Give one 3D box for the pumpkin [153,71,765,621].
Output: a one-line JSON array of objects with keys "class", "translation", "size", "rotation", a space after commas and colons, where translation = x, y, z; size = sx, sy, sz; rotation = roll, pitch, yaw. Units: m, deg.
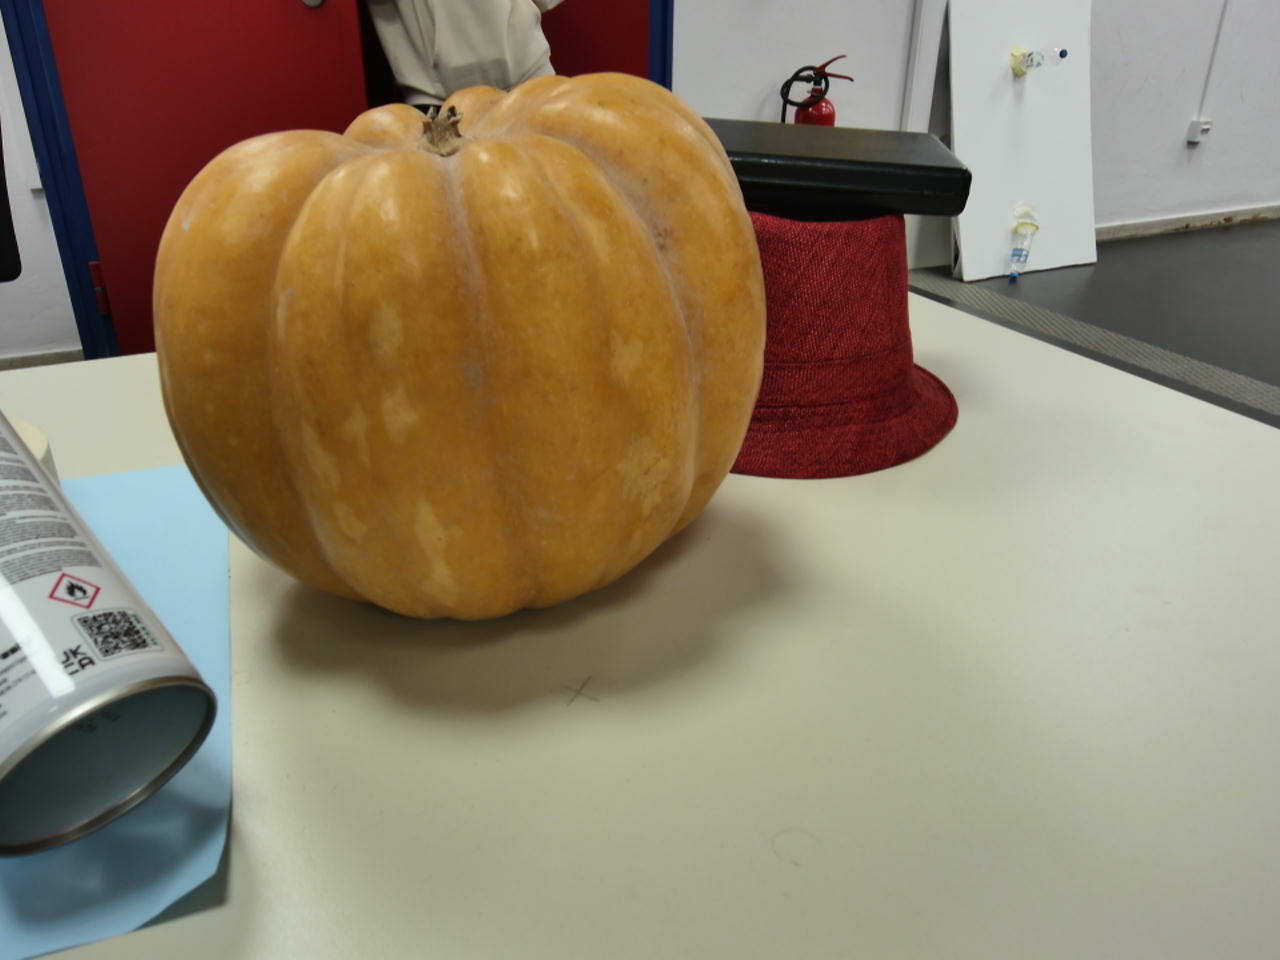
[{"class": "pumpkin", "translation": [-0.061, -0.053, 0.389], "size": [0.230, 0.194, 0.230], "rotation": [0, 25, 0]}]
